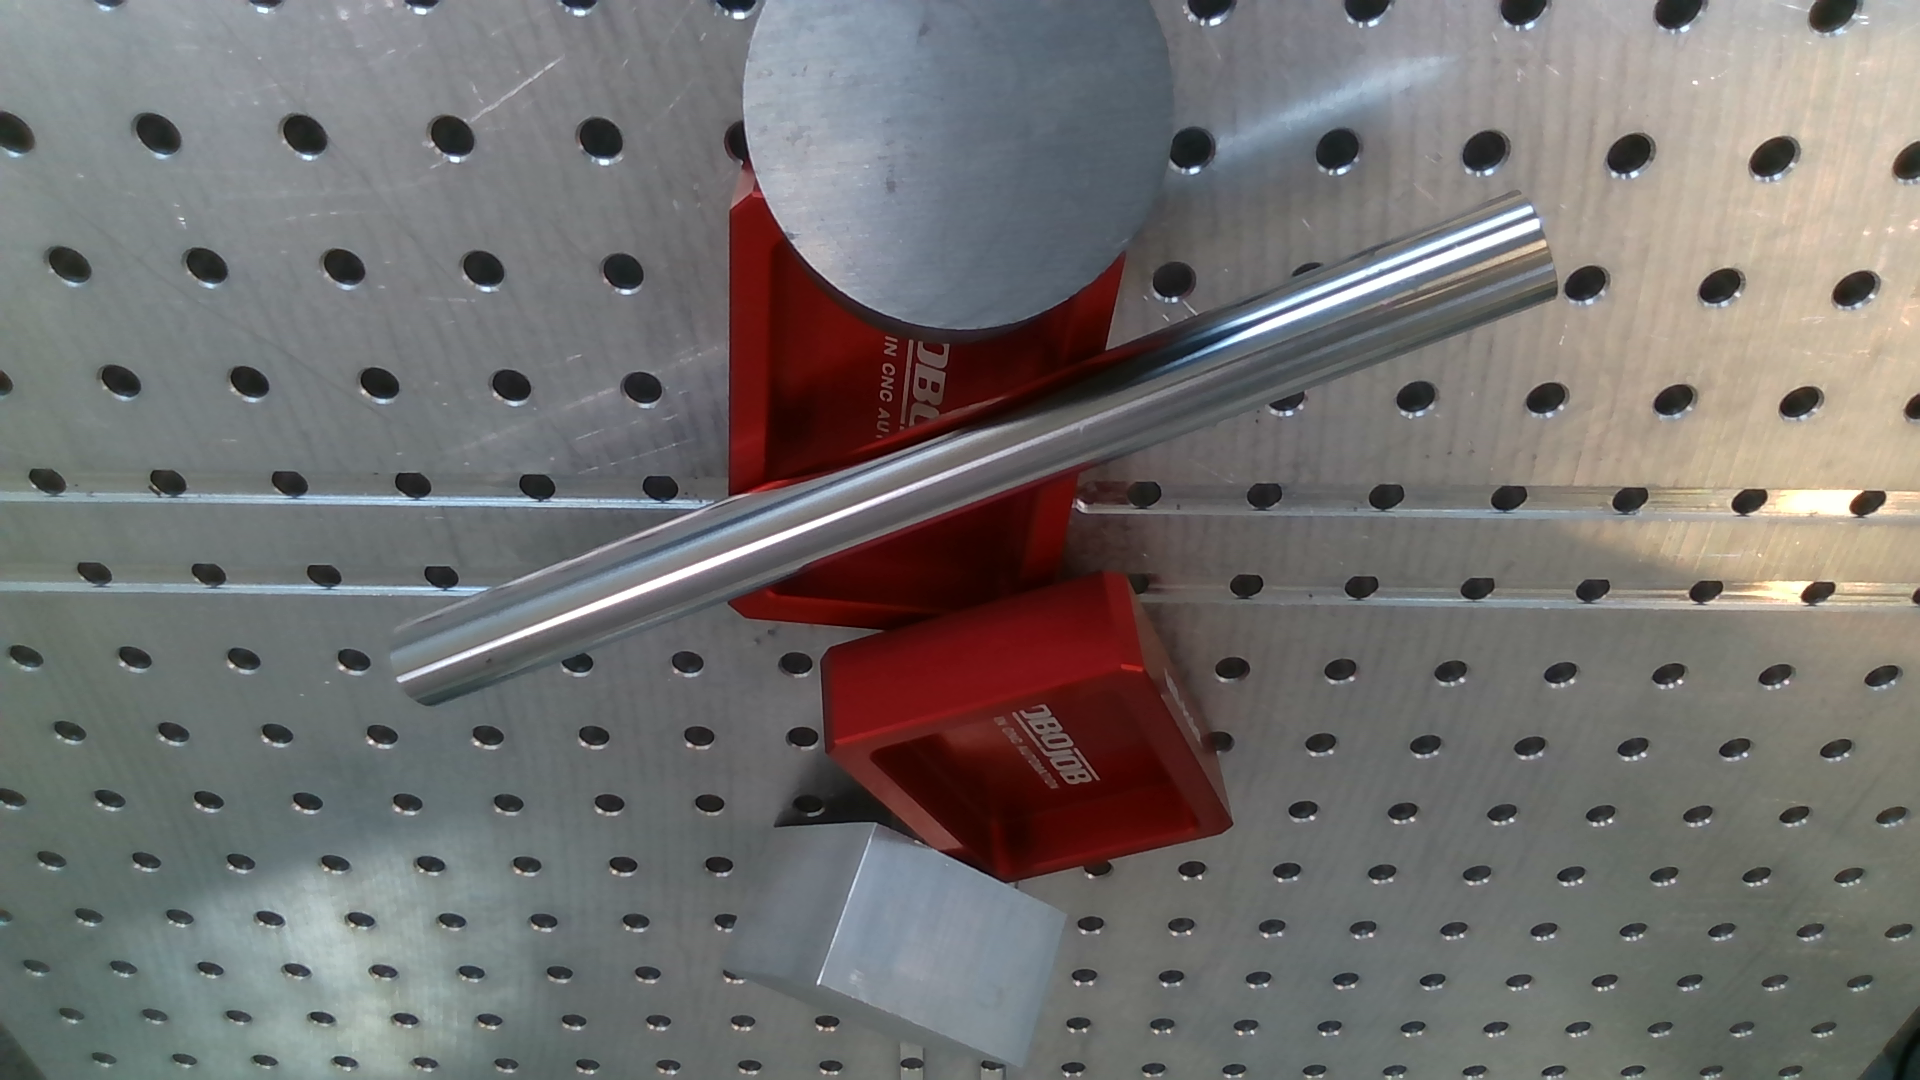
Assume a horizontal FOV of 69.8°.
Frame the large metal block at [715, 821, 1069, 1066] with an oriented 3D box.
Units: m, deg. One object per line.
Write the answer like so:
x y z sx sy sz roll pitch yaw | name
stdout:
-0.024 0.135 0.467 0.080 0.050 0.080 31 154 -23 | large metal block

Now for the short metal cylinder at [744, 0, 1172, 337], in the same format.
-0.001 -0.083 0.282 0.080 0.050 0.080 0 95 -4 | short metal cylinder

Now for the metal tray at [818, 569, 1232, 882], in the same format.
0.024 0.063 0.417 0.090 0.030 0.130 -17 145 14 | metal tray

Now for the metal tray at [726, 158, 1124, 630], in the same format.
-0.014 -0.033 0.360 0.090 0.030 0.130 5 130 -4 | metal tray

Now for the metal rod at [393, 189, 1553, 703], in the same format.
-0.012 -0.015 0.340 0.300 0.025 0.025 -20 127 16 | metal rod
